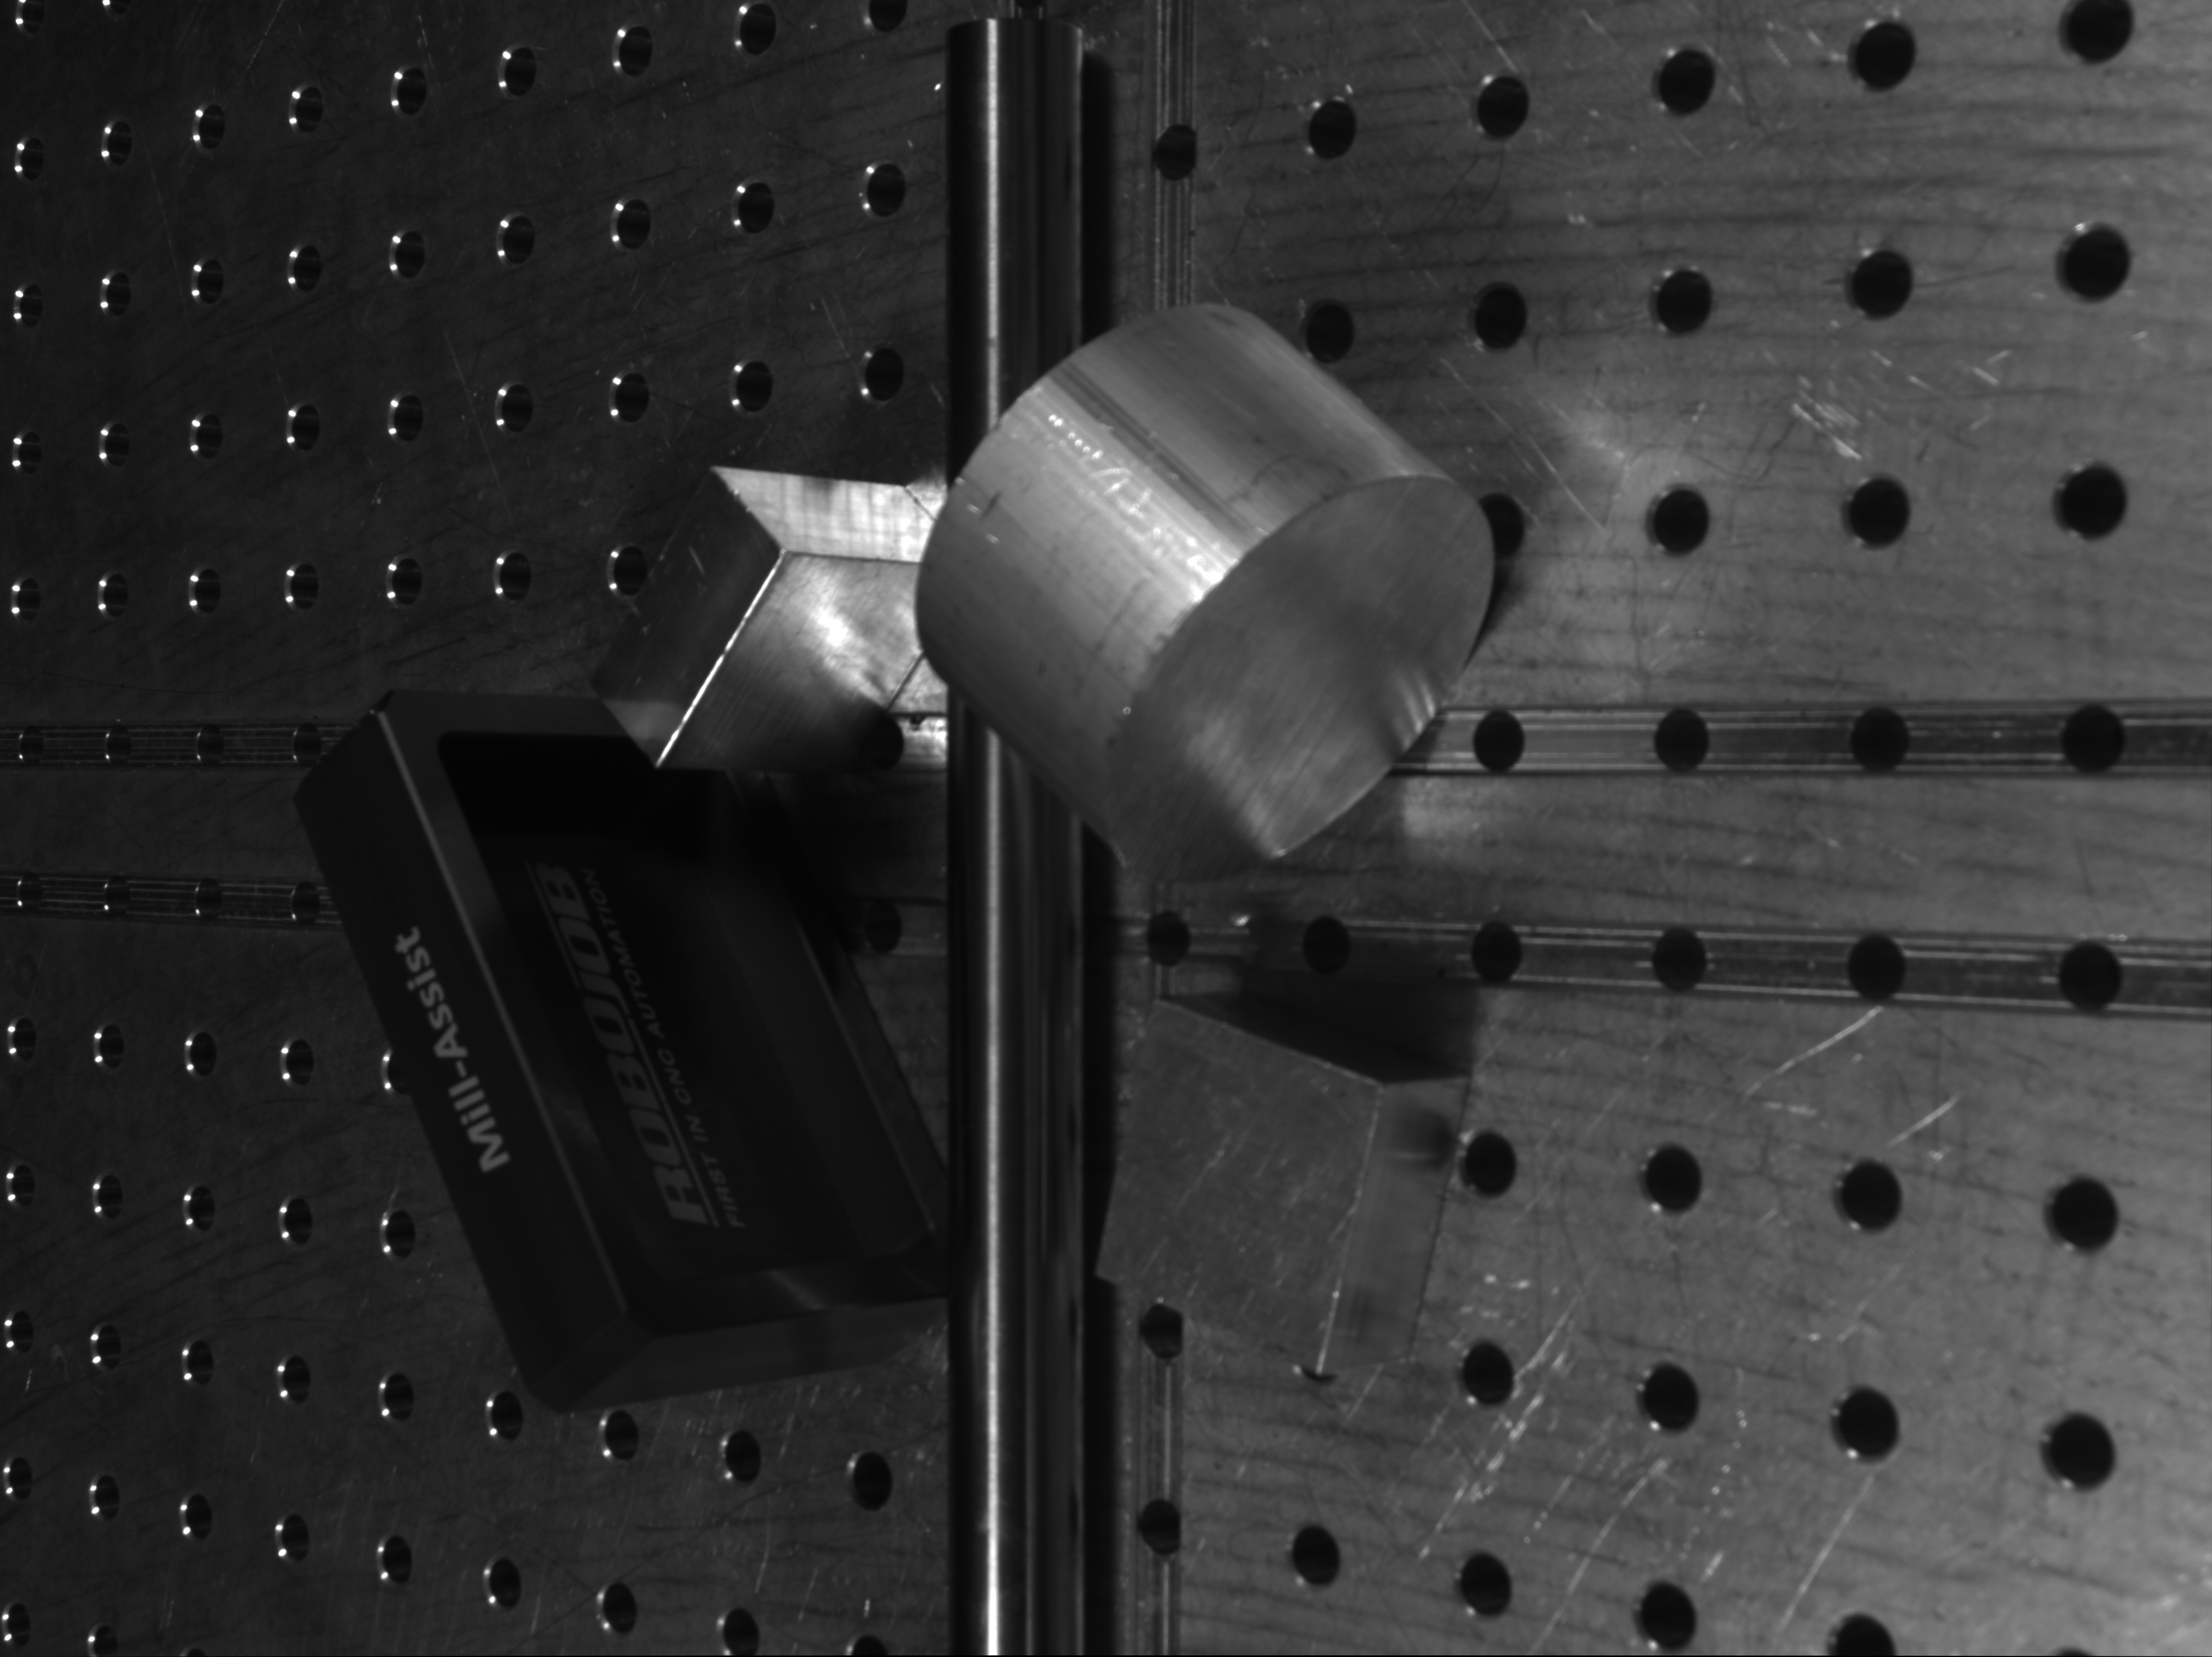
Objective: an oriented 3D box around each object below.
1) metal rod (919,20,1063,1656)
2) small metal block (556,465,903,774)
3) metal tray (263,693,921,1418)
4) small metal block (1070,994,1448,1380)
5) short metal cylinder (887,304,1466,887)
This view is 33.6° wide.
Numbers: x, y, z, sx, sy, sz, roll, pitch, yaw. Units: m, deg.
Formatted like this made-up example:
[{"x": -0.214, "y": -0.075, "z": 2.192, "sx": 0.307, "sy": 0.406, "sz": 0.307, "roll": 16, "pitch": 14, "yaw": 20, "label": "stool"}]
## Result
[{"x": -0.021, "y": 0.008, "z": 0.655, "sx": 0.025, "sy": 0.025, "sz": 0.300, "roll": 0, "pitch": 90, "yaw": 39, "label": "metal rod"}, {"x": -0.065, "y": -0.038, "z": 0.676, "sx": 0.025, "sy": 0.050, "sz": 0.050, "roll": 48, "pitch": 118, "yaw": 29, "label": "small metal block"}, {"x": -0.090, "y": 0.038, "z": 0.670, "sx": 0.030, "sy": 0.090, "sz": 0.130, "roll": -39, "pitch": 66, "yaw": 32, "label": "metal tray"}, {"x": 0.025, "y": 0.059, "z": 0.619, "sx": 0.050, "sy": 0.025, "sz": 0.050, "roll": 19, "pitch": 102, "yaw": 38, "label": "small metal block"}, {"x": 0.012, "y": -0.037, "z": 0.594, "sx": 0.050, "sy": 0.080, "sz": 0.080, "roll": 45, "pitch": 116, "yaw": 30, "label": "short metal cylinder"}]
